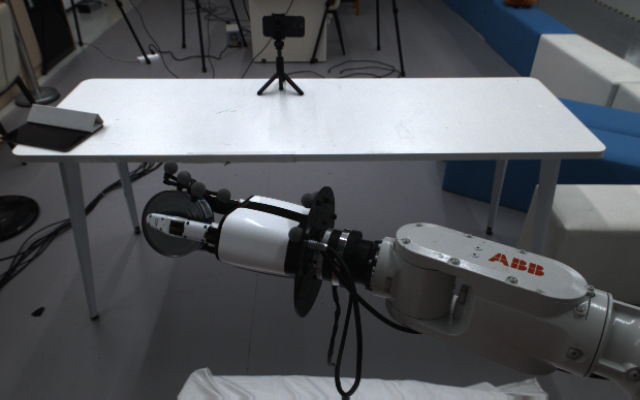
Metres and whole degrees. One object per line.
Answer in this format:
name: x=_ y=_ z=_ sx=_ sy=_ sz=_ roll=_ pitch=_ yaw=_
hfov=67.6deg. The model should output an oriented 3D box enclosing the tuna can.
tuna can: x=-0.179 y=0.030 z=0.619 sx=0.085 sy=0.085 sz=0.034 roll=10 pitch=4 yaw=11
